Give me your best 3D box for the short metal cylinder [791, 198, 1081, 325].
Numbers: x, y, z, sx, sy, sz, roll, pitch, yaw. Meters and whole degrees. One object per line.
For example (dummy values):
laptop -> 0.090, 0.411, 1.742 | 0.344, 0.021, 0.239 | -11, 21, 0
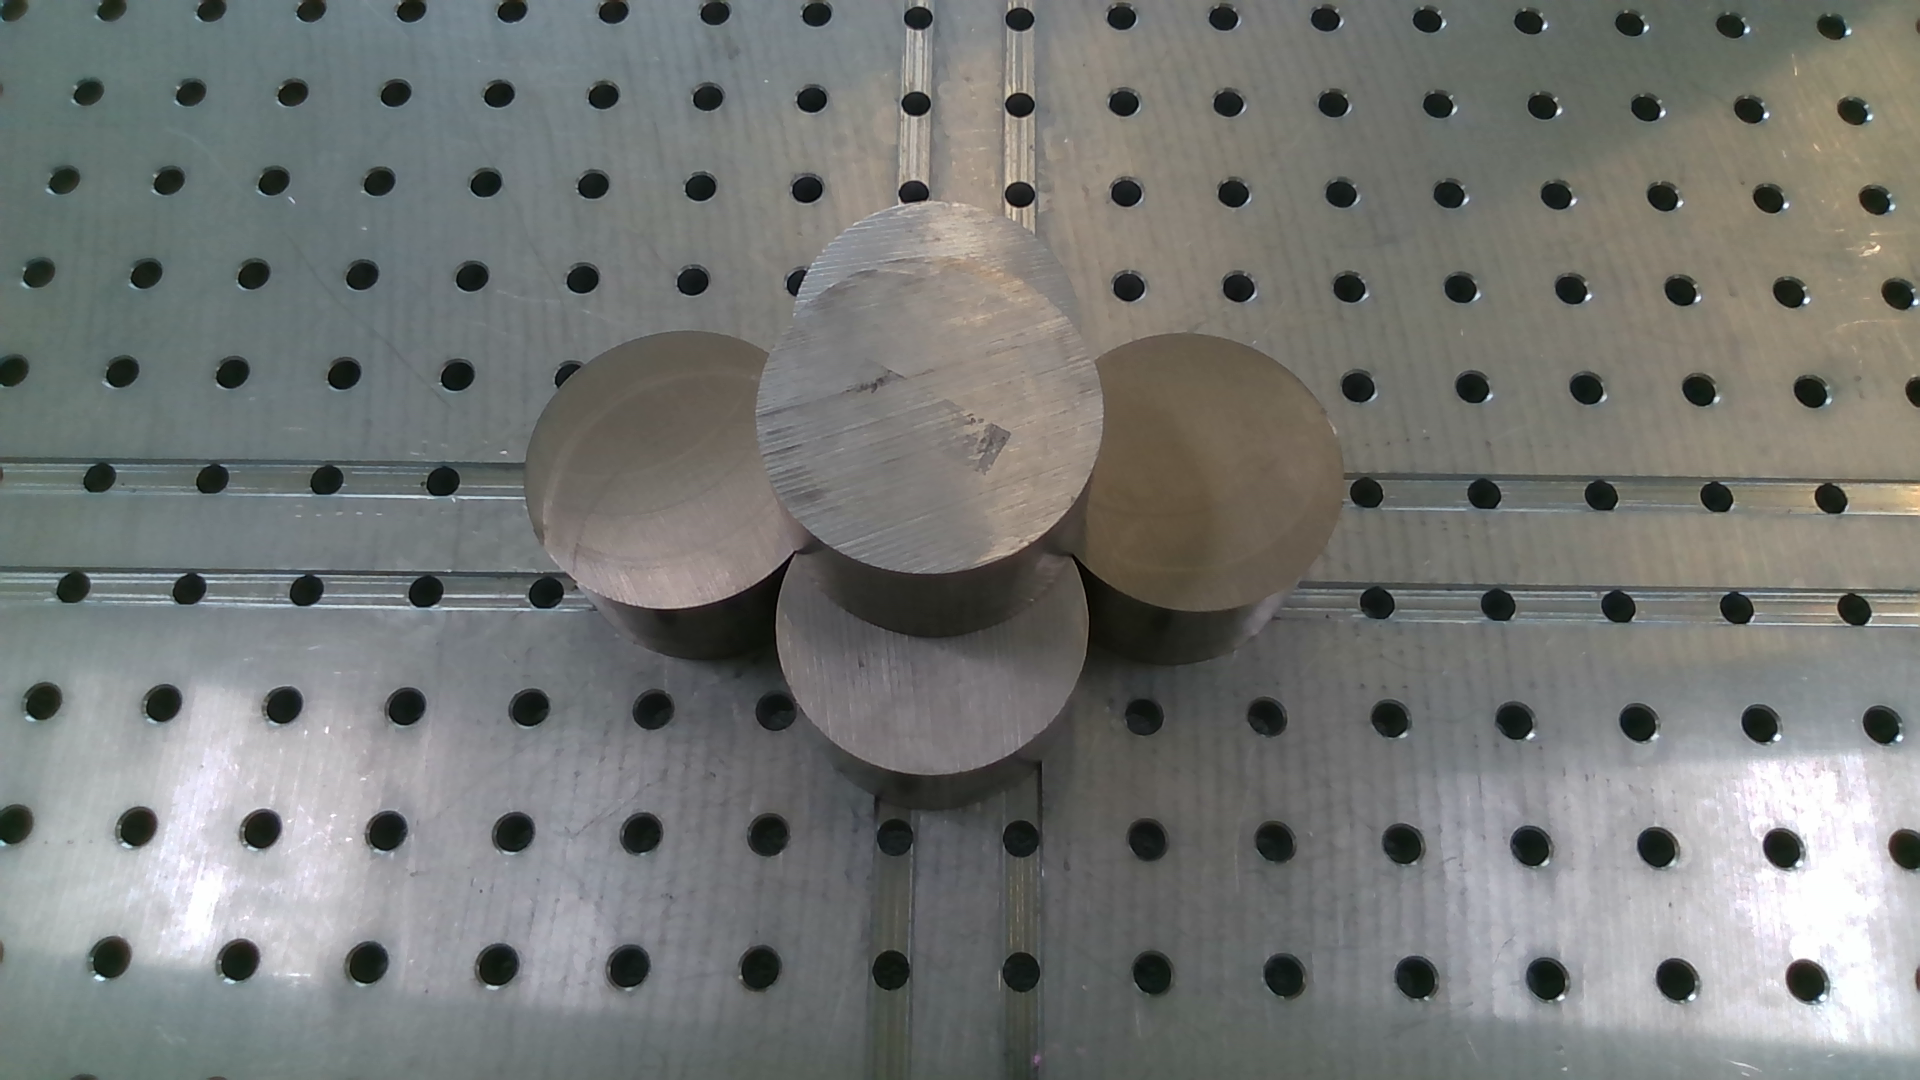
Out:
short metal cylinder -> -0.007, -0.051, 0.403 | 0.080, 0.050, 0.080 | 0, 70, 0

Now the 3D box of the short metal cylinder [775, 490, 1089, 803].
short metal cylinder -> -0.007, 0.028, 0.374 | 0.080, 0.050, 0.080 | 0, 70, 0

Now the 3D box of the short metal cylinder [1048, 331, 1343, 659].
short metal cylinder -> 0.061, -0.011, 0.388 | 0.080, 0.050, 0.080 | 0, 71, 0

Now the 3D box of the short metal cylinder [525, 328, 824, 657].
short metal cylinder -> -0.075, -0.012, 0.388 | 0.080, 0.050, 0.080 | 1, 71, -2

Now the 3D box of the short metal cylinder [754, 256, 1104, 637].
short metal cylinder -> -0.007, -0.021, 0.338 | 0.080, 0.050, 0.080 | 0, 70, 0
